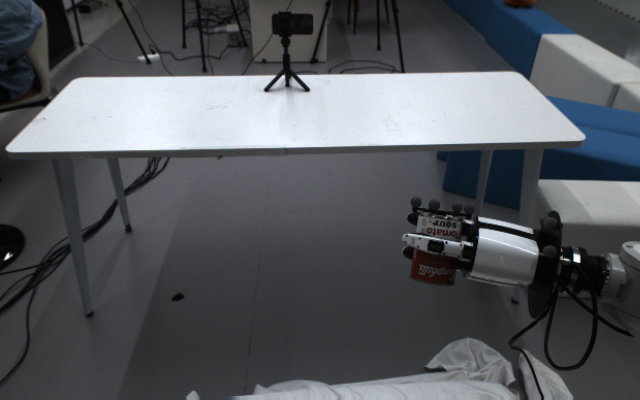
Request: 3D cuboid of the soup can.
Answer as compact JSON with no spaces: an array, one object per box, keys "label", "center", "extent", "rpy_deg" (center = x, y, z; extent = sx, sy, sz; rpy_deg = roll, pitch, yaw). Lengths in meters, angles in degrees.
[{"label":"soup can","center":[0.179,0.072,0.738],"extent":[0.067,0.101,0.067],"rpy_deg":[7,3,0]}]
